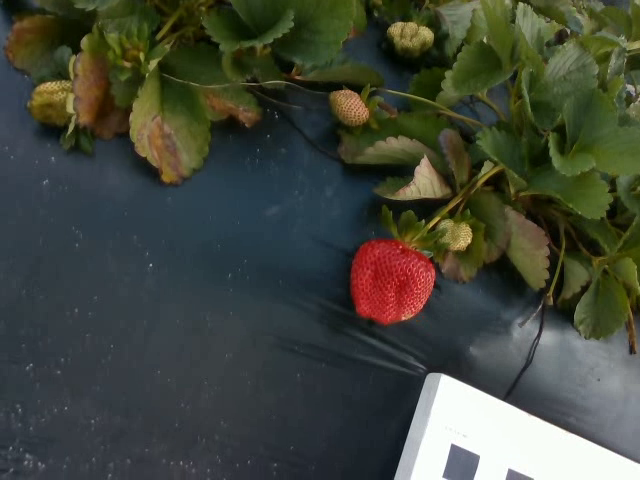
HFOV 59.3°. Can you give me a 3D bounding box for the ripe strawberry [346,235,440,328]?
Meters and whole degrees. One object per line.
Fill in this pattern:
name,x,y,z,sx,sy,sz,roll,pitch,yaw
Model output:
ripe strawberry,0.050,0.030,0.400,0.067,0.075,0.039,29,-22,-7
